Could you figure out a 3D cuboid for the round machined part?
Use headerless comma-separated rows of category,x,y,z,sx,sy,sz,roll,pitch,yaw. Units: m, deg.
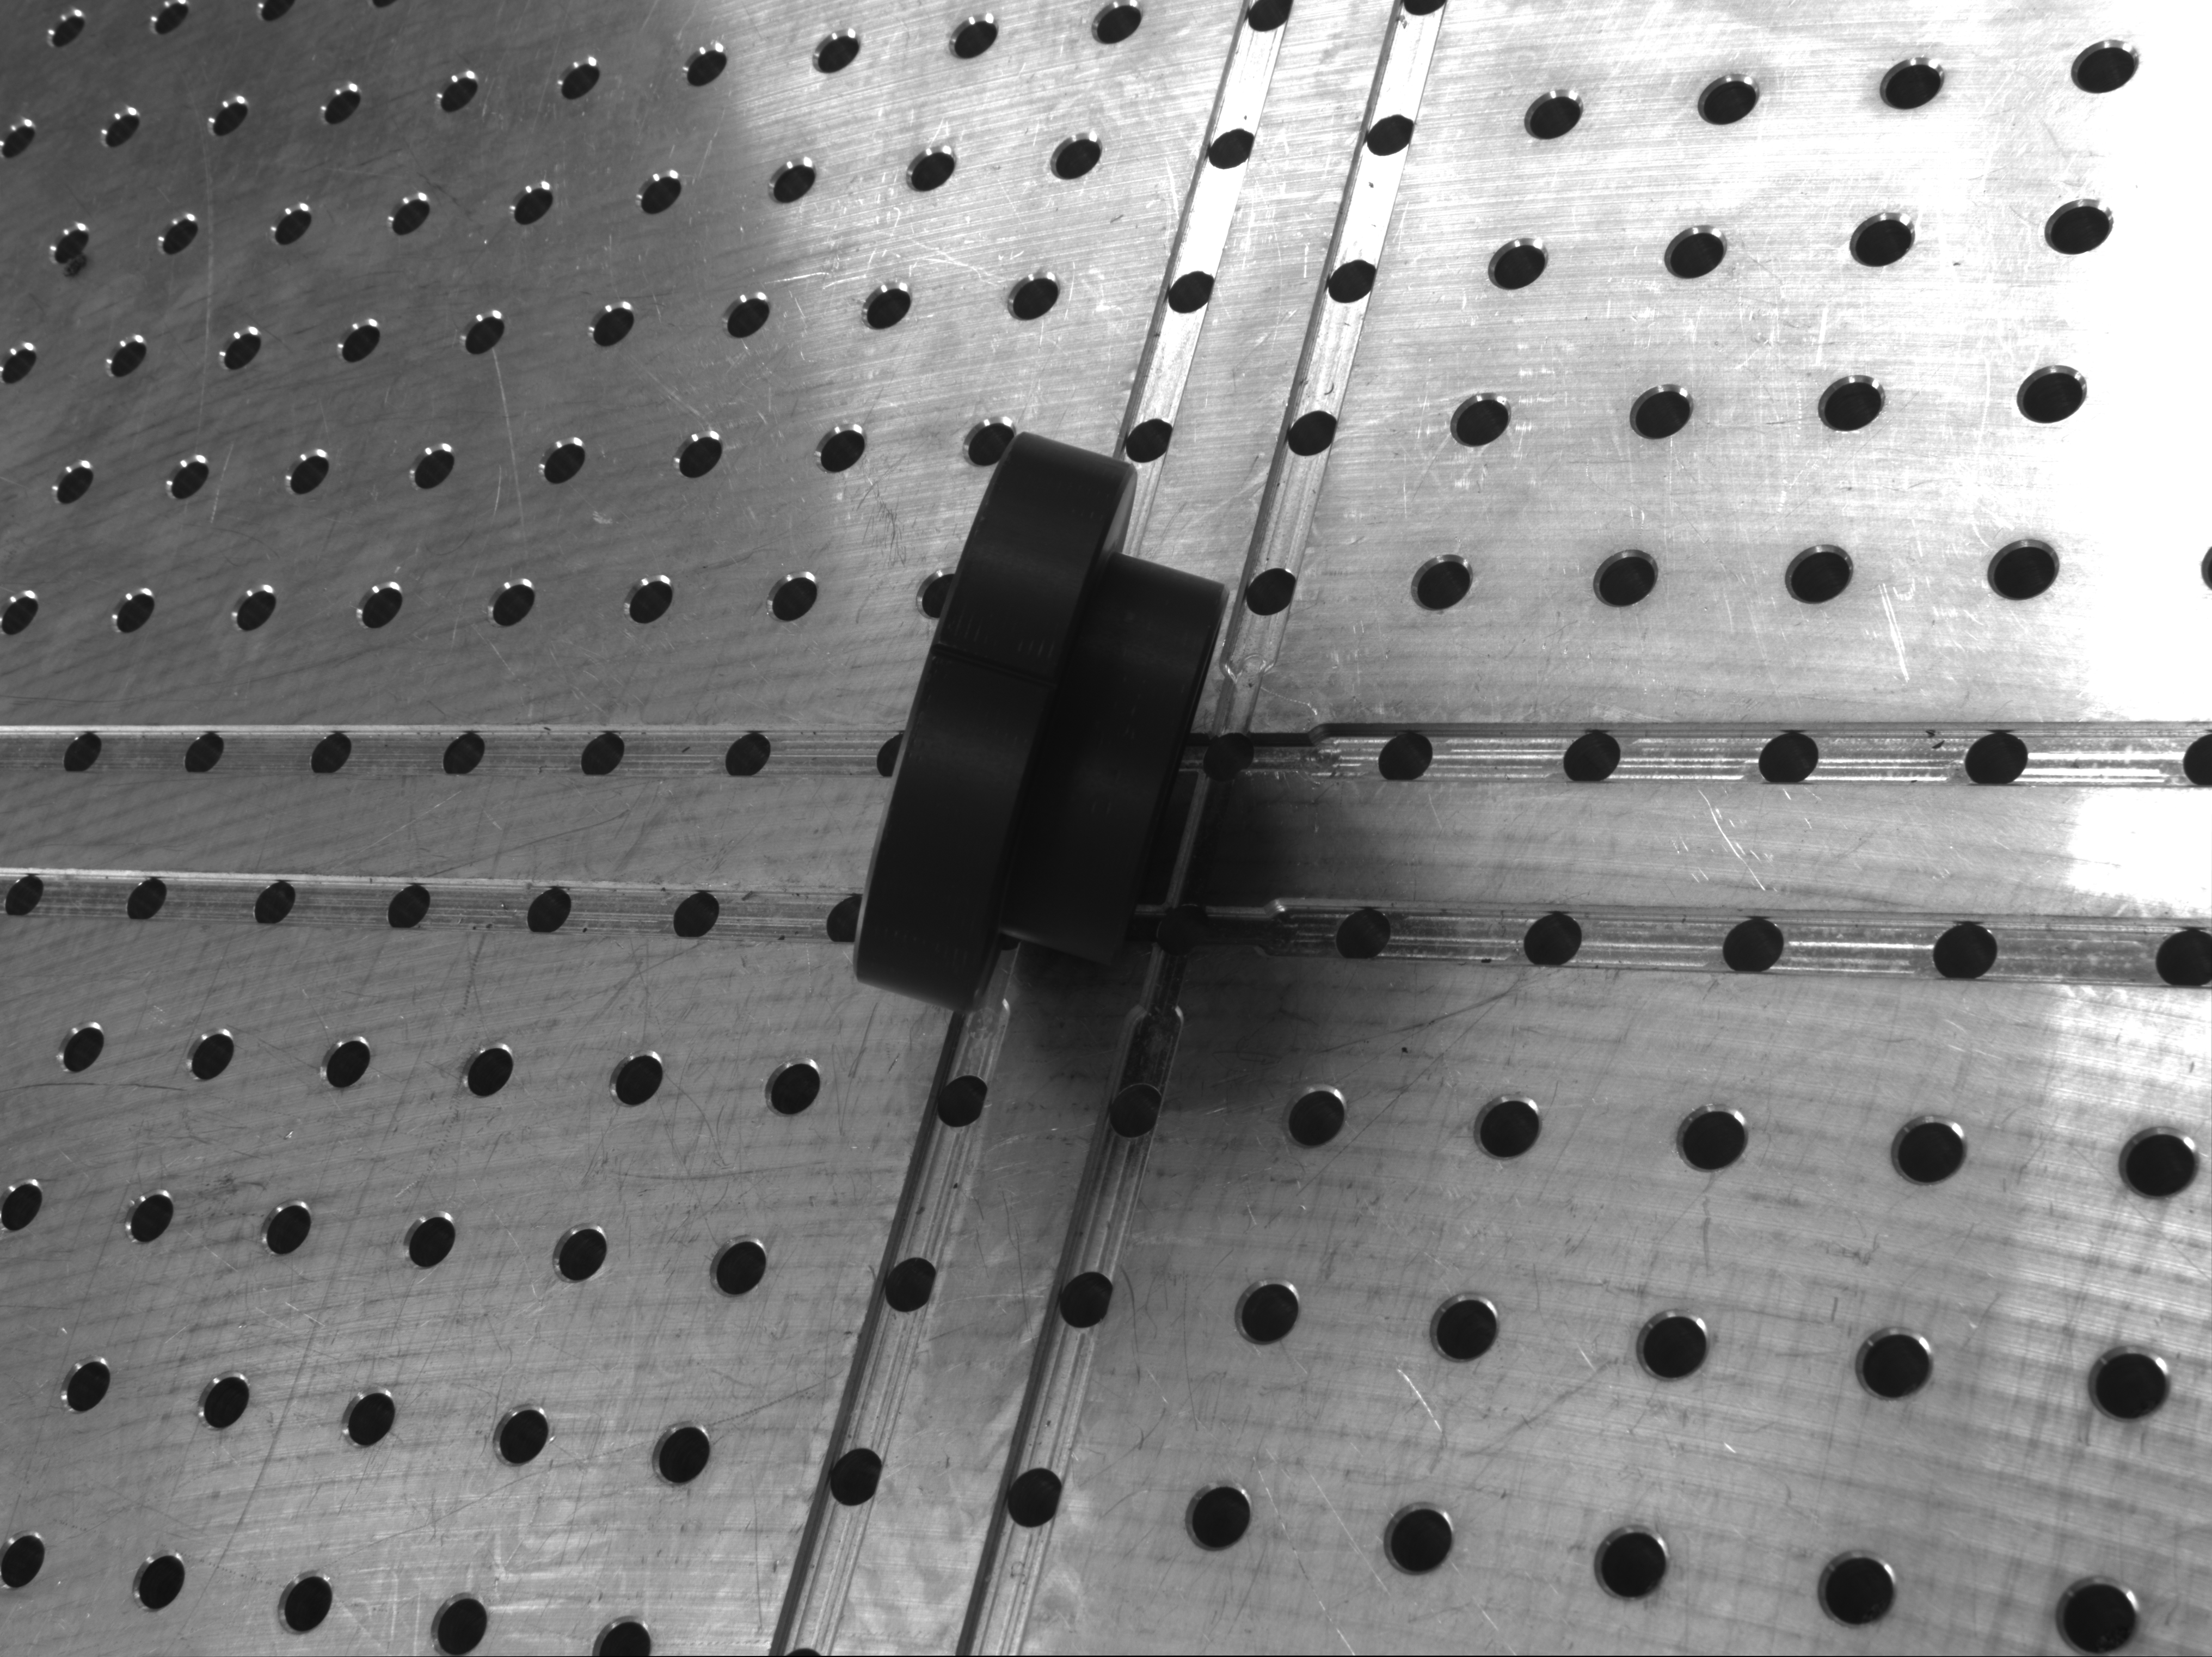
round machined part,-0.008,-0.014,0.627,0.042,0.098,0.098,17,67,2
